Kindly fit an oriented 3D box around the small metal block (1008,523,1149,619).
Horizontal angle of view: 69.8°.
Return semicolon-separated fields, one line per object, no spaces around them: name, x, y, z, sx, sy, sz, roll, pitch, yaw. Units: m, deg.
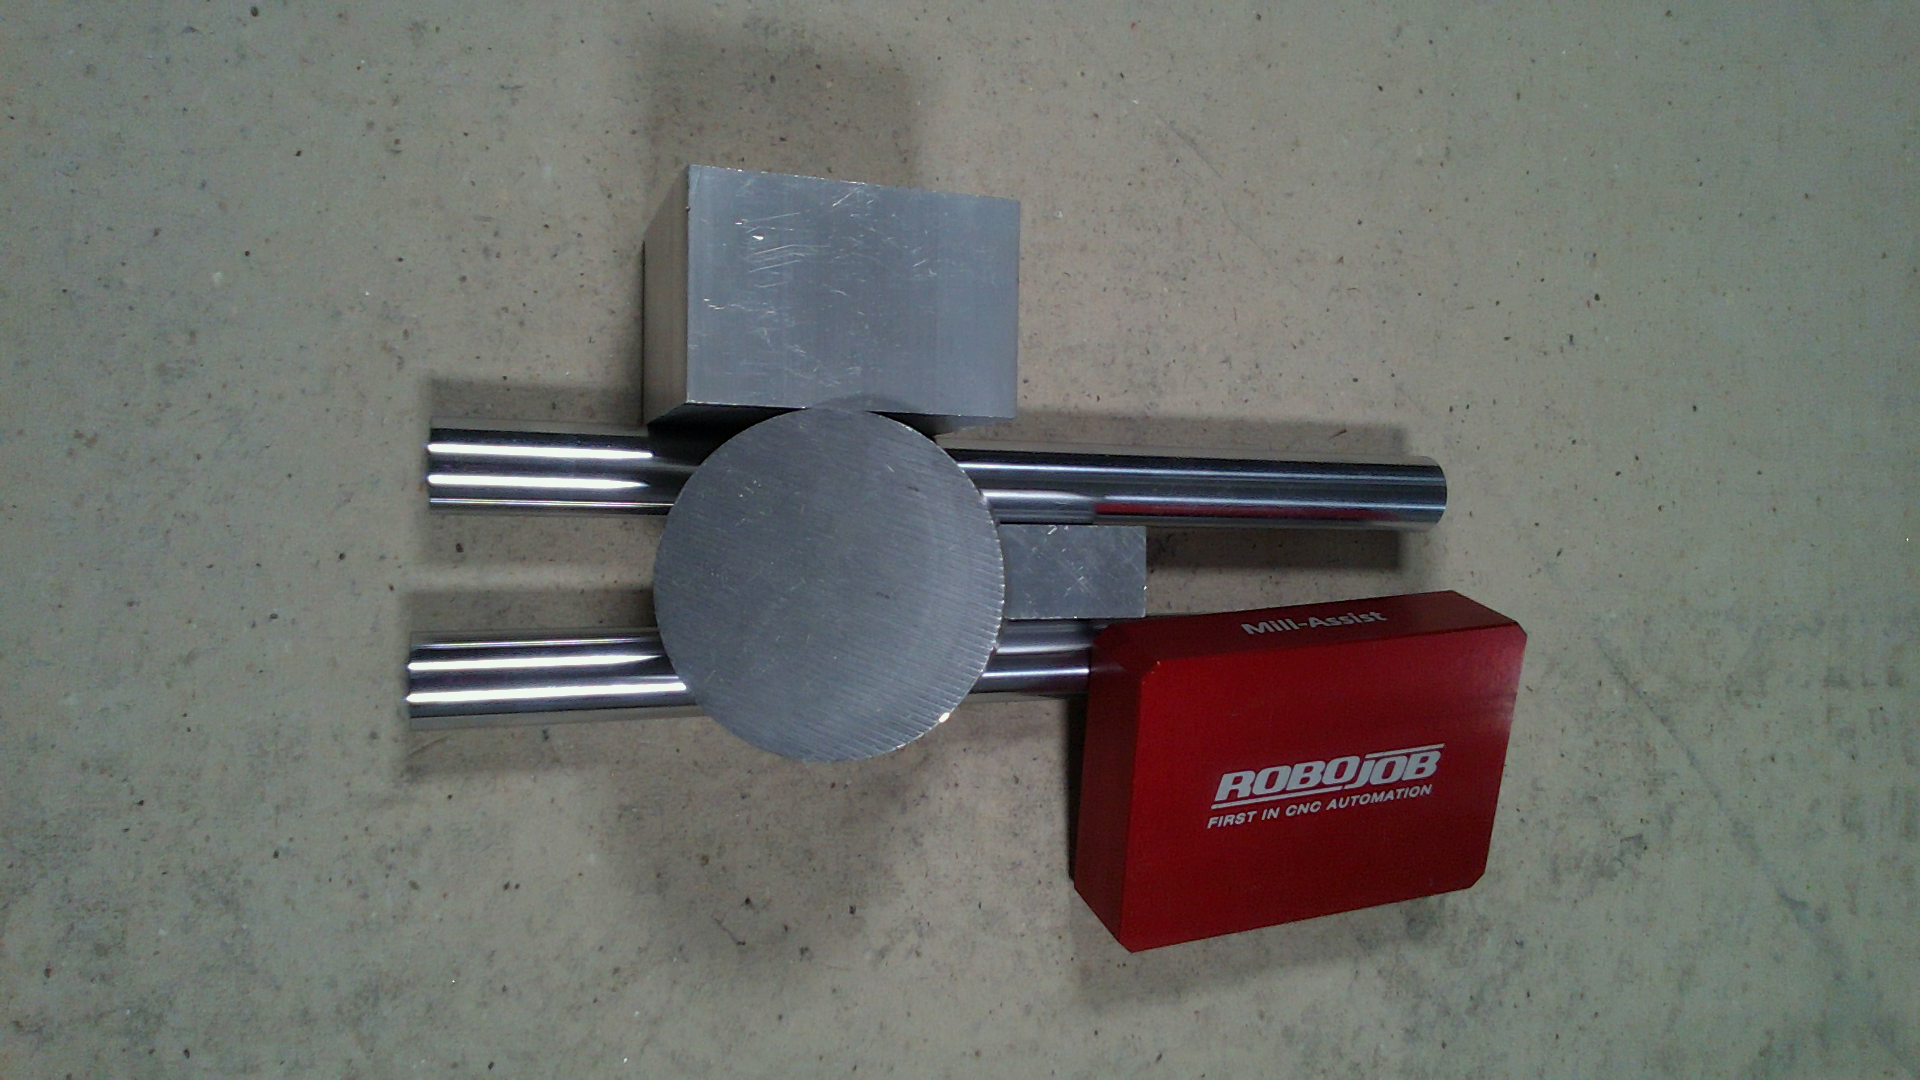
small metal block;0.019;0.008;0.387;0.050;0.050;0.025;1;90;-20

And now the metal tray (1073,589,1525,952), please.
metal tray;0.102;0.067;0.413;0.130;0.030;0.090;-4;109;-21

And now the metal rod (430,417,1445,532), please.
metal rod;0.009;-0.017;0.397;0.301;0.025;0.025;1;90;-20

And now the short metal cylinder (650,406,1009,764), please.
short metal cylinder;-0.028;0.011;0.332;0.080;0.050;0.080;0;88;4

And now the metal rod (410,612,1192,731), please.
metal rod;0.004;0.035;0.395;0.301;0.025;0.025;0;90;-20

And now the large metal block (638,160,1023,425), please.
large metal block;-0.036;-0.057;0.352;0.080;0.080;0.050;1;90;-20
